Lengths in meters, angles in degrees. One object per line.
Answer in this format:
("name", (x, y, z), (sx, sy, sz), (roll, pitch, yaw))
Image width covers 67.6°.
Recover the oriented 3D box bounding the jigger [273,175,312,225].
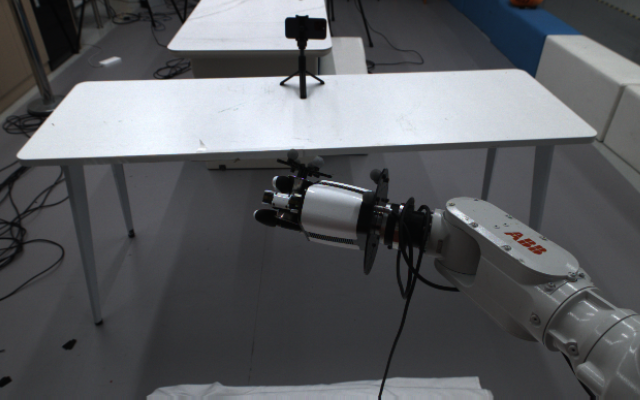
("jigger", (-0.039, -0.001, 0.739), (0.043, 0.071, 0.043), (18, -6, 2))
